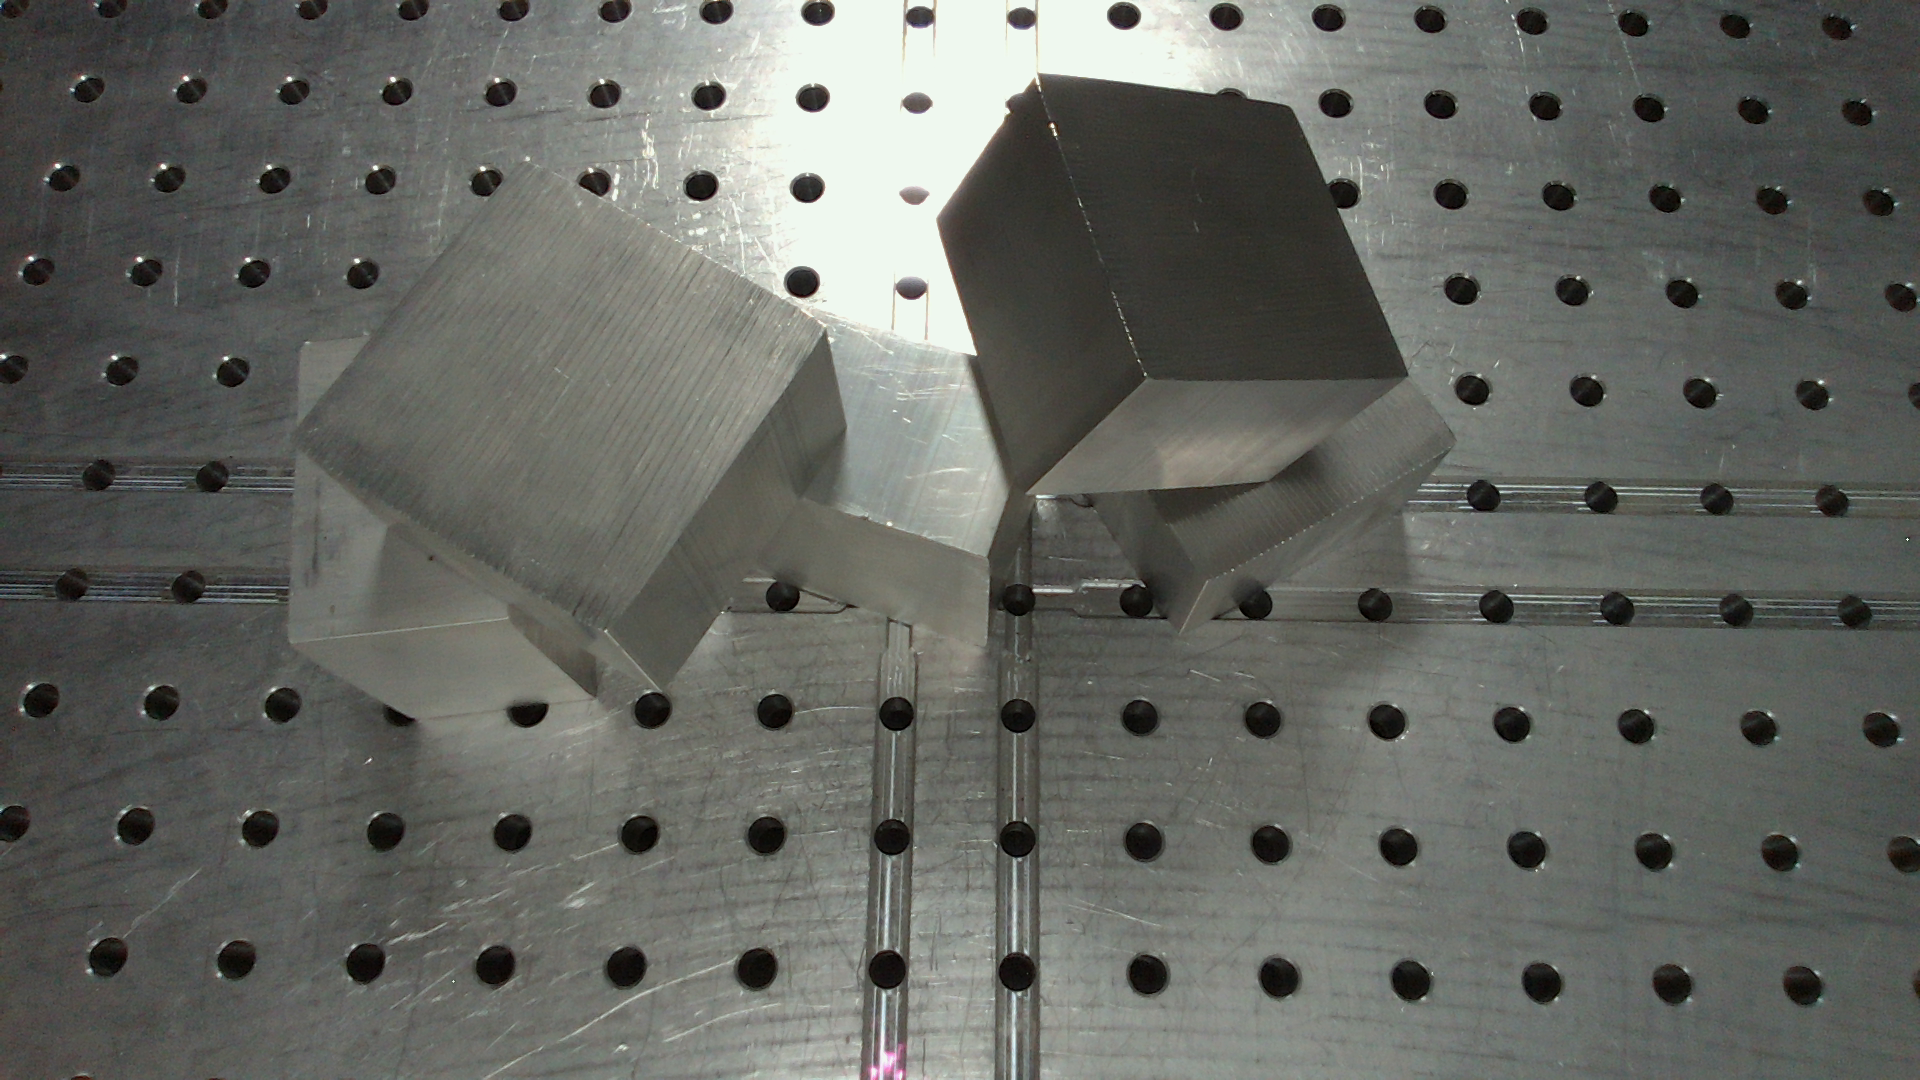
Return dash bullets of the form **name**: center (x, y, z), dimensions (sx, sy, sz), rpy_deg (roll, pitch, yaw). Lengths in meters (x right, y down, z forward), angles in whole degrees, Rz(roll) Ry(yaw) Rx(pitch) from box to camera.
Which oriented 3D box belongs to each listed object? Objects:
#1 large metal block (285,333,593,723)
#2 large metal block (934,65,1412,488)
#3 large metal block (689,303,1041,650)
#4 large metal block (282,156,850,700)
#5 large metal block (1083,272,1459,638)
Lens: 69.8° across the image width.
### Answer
- **large metal block**: center (-0.134, -0.002, 0.368), dimensions (0.050, 0.080, 0.080), rpy_deg (-6, 70, -2)
- **large metal block**: center (0.050, -0.061, 0.333), dimensions (0.080, 0.050, 0.080), rpy_deg (-4, 67, -32)
- **large metal block**: center (-0.022, -0.016, 0.373), dimensions (0.080, 0.080, 0.050), rpy_deg (18, 71, 6)
- **large metal block**: center (-0.082, -0.024, 0.306), dimensions (0.080, 0.050, 0.080), rpy_deg (29, 73, 11)
- **large metal block**: center (0.079, -0.031, 0.395), dimensions (0.080, 0.050, 0.080), rpy_deg (-29, 72, -10)
